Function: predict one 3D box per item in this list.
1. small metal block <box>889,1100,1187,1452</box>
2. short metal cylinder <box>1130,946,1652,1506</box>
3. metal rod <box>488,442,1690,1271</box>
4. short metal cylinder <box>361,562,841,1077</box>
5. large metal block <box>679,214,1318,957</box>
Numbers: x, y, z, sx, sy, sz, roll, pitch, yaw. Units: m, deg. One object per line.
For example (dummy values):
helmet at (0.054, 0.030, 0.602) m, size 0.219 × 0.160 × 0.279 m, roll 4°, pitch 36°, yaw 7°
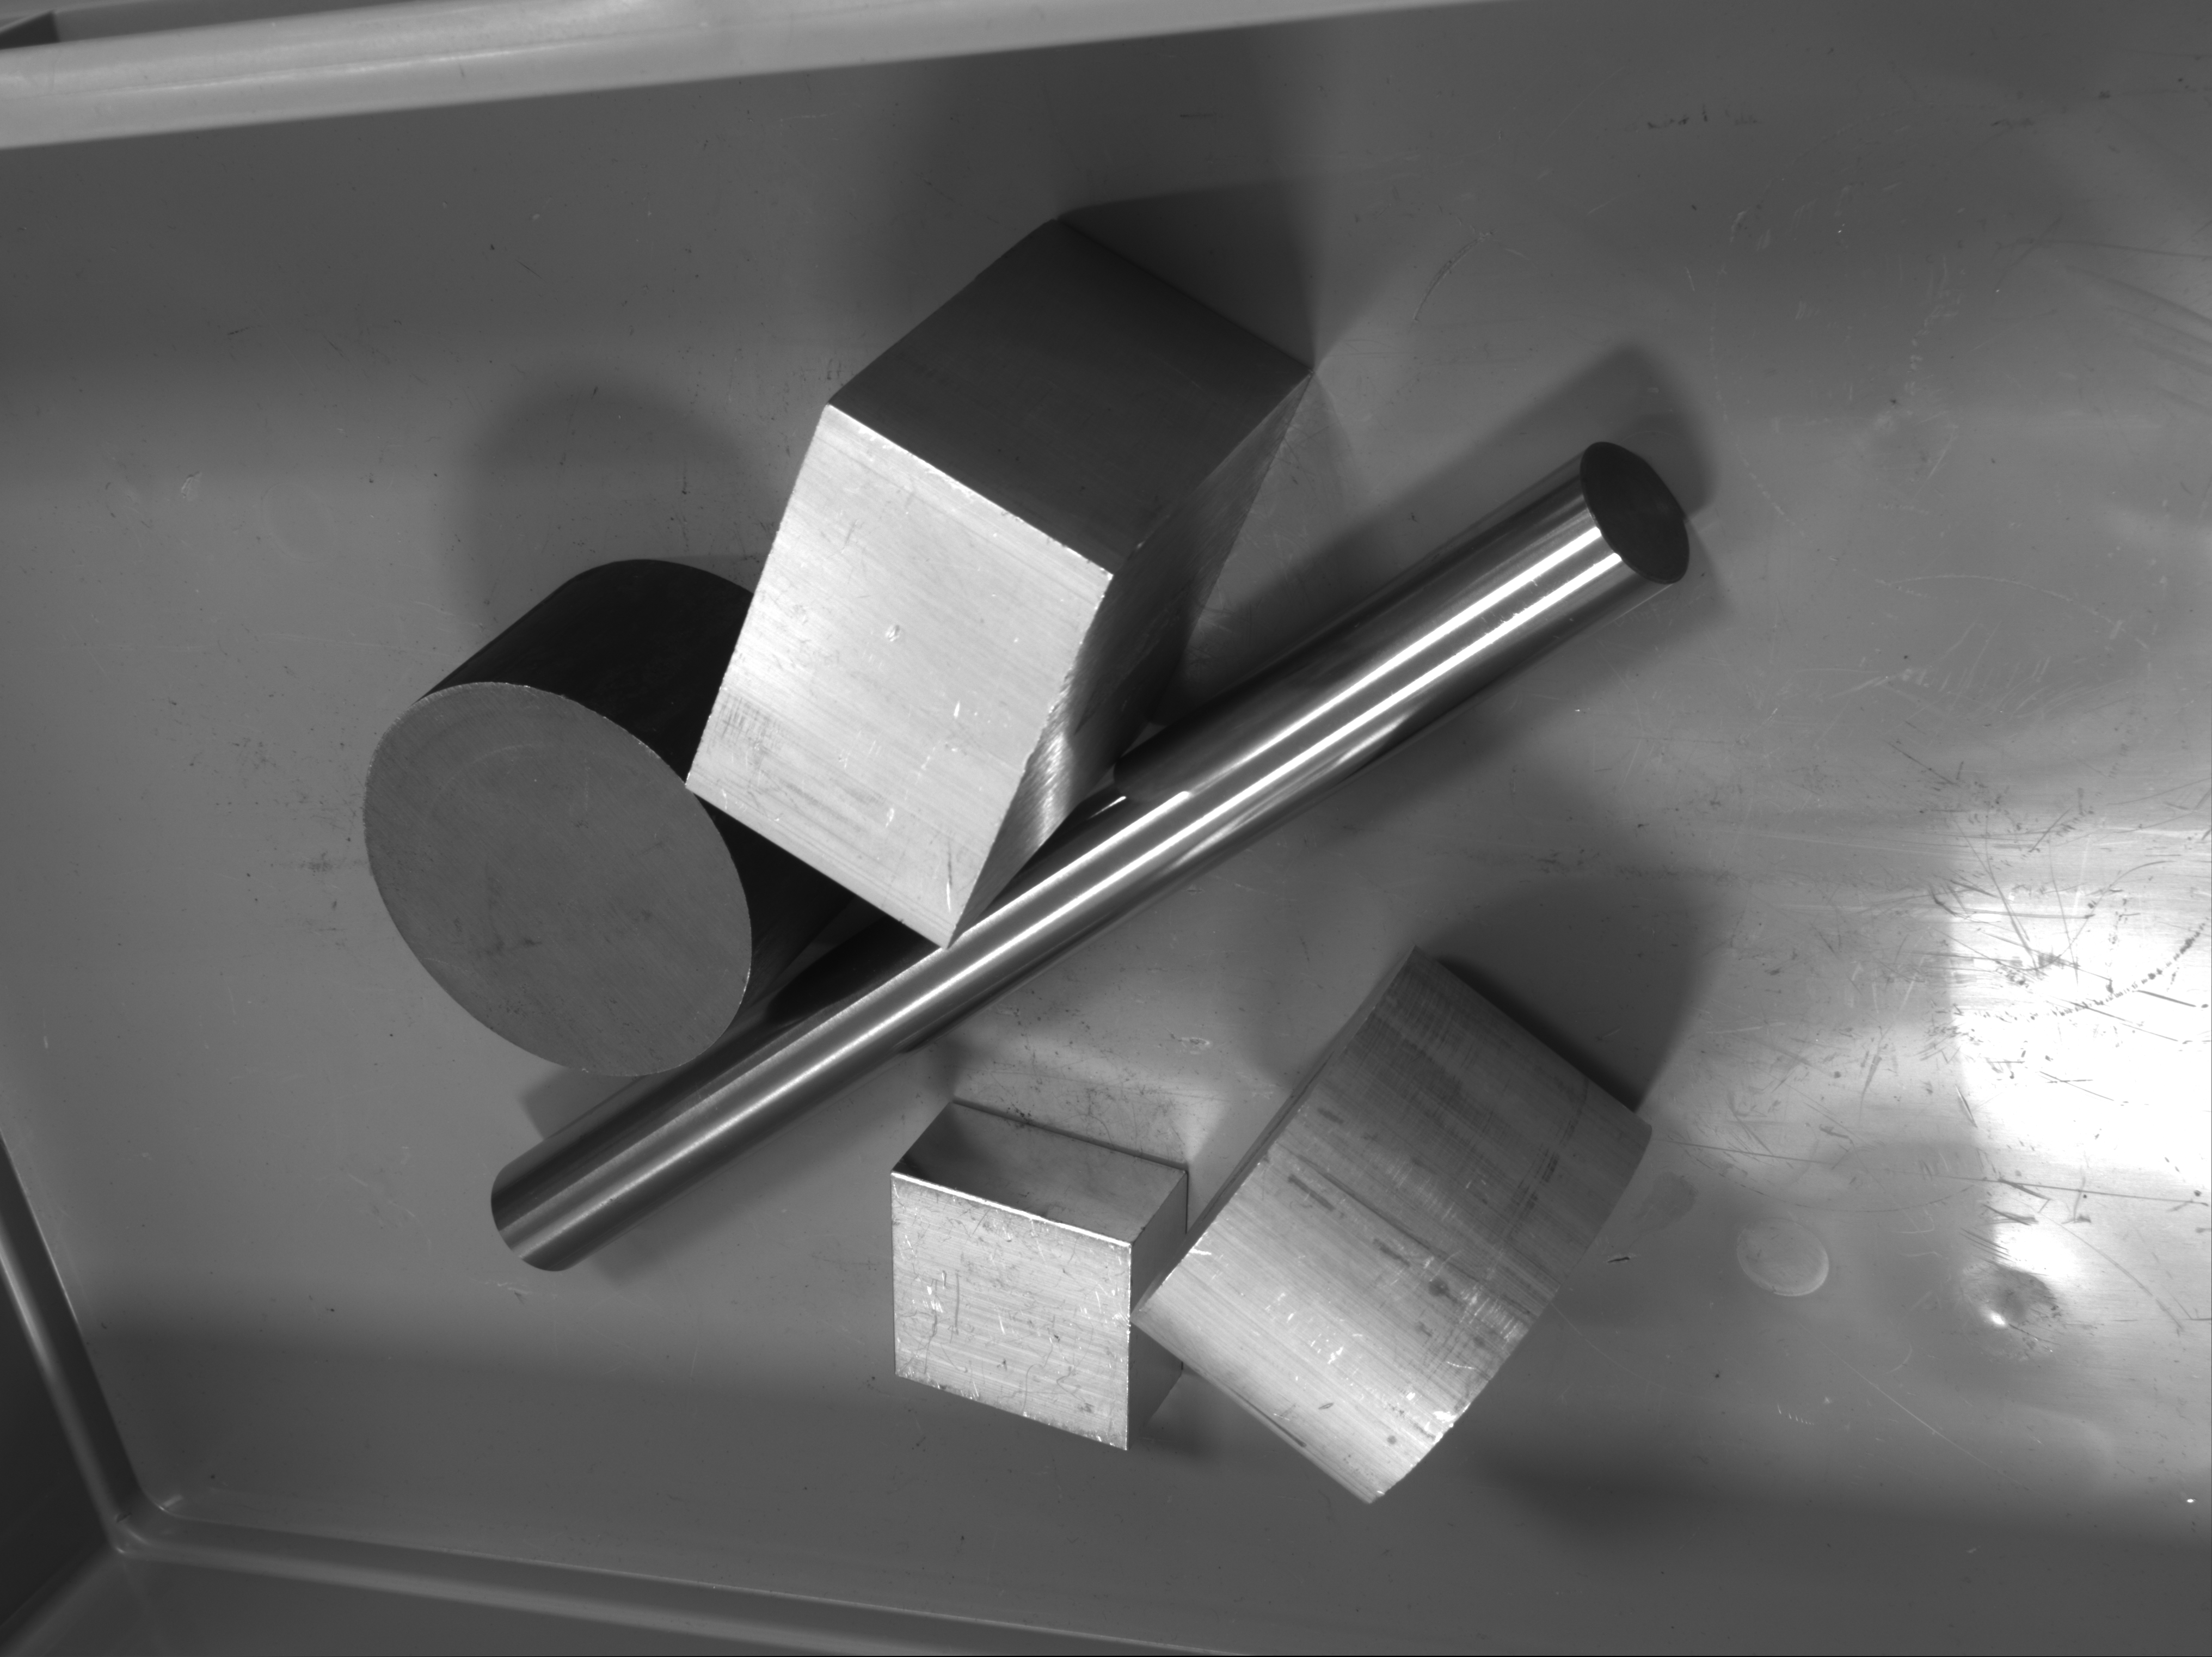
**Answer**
small metal block at (-0.013, 0.085, 0.700) m, size 0.050 × 0.025 × 0.050 m, roll 14°, pitch 124°, yaw 20°
short metal cylinder at (0.048, 0.067, 0.621) m, size 0.050 × 0.080 × 0.080 m, roll 37°, pitch 129°, yaw 3°
metal rod at (-0.017, 0.015, 0.660) m, size 0.299 × 0.025 × 0.025 m, roll -33°, pitch 100°, yaw 38°
short metal cylinder at (-0.088, -0.002, 0.671) m, size 0.080 × 0.050 × 0.080 m, roll 13°, pitch 124°, yaw 21°
large metal block at (-0.017, -0.040, 0.591) m, size 0.050 × 0.080 × 0.080 m, roll 32°, pitch 128°, yaw 8°
